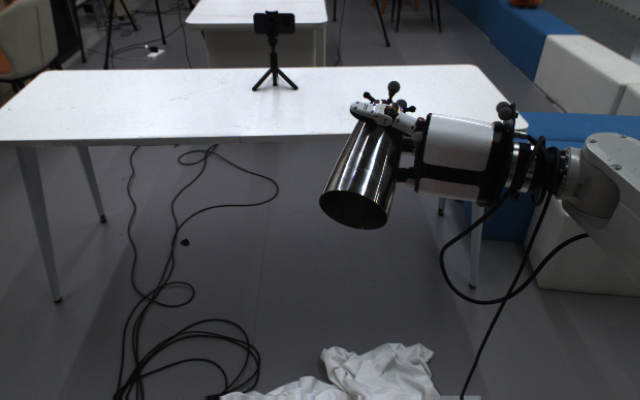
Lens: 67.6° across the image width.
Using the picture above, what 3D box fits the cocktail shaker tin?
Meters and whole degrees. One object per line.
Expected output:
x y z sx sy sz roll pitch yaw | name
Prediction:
0.069 -0.058 0.665 0.093 0.093 0.170 13 59 16 | cocktail shaker tin
